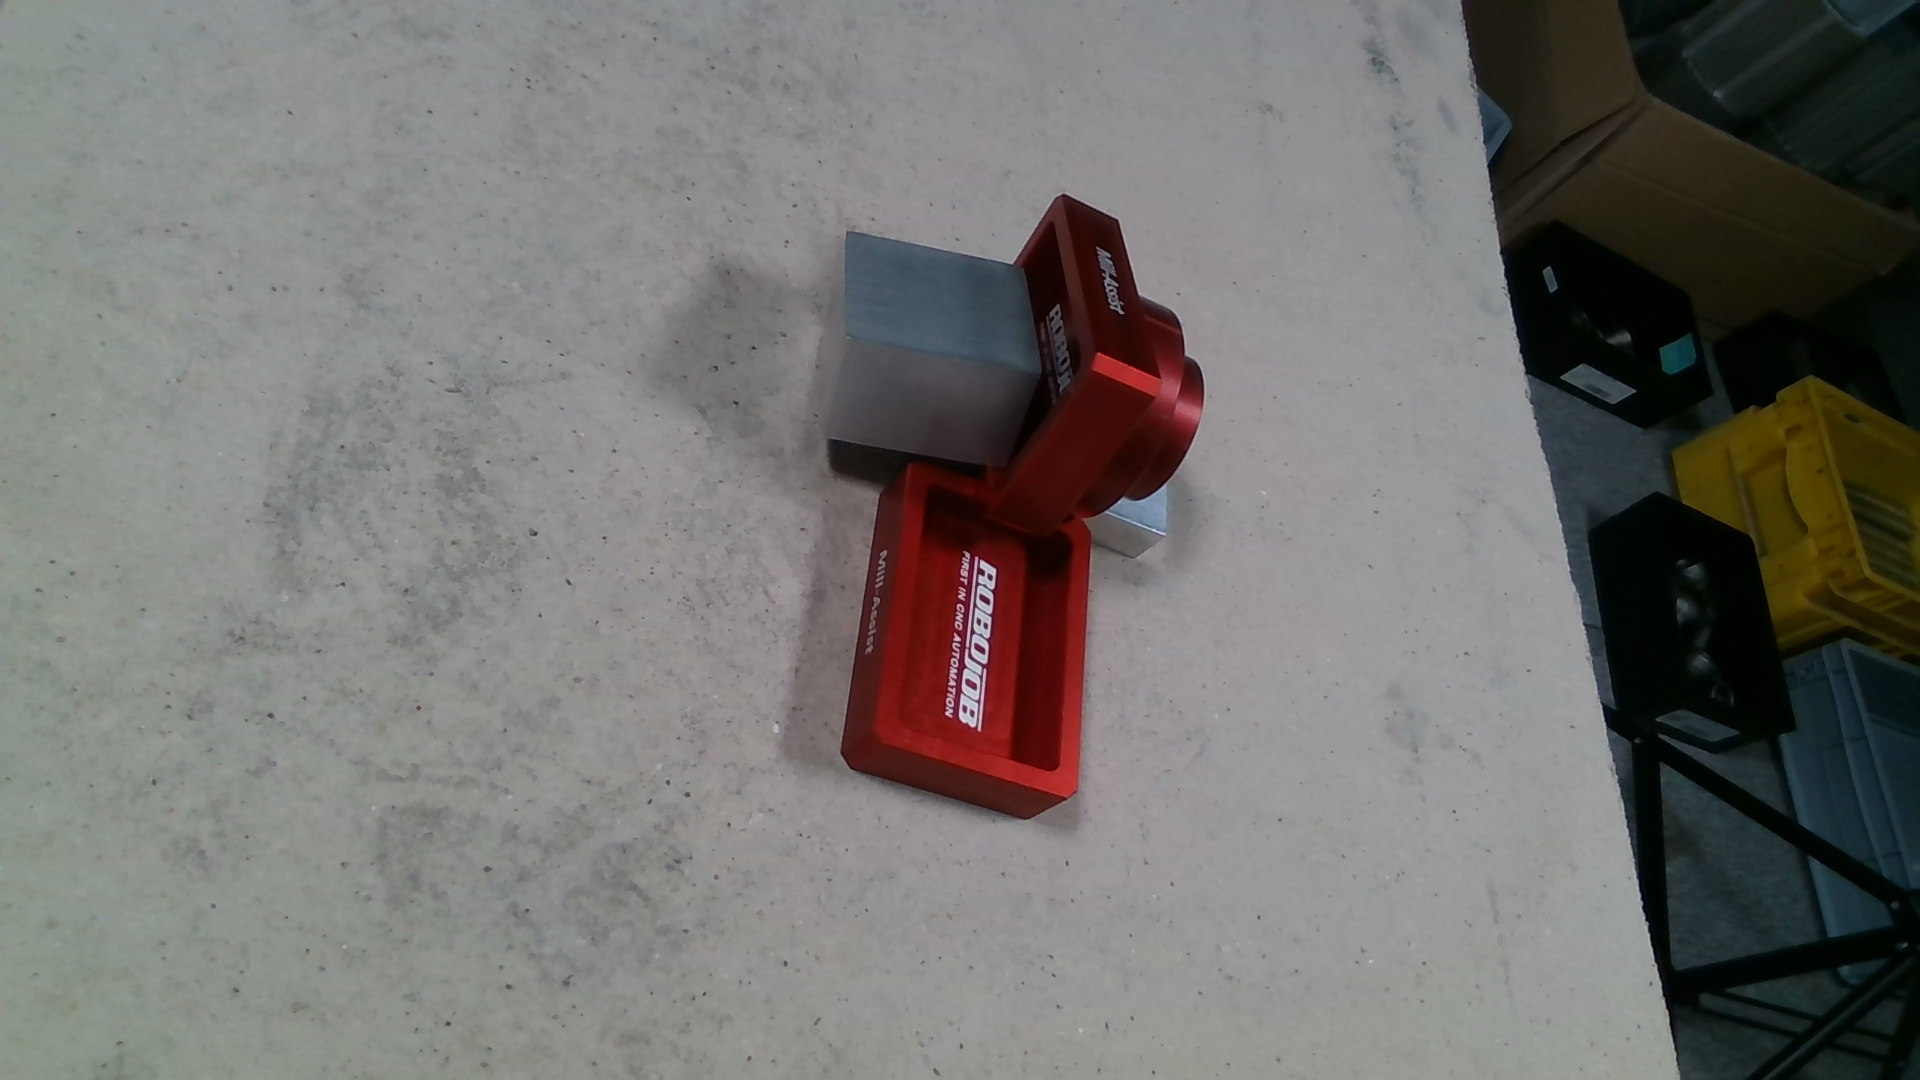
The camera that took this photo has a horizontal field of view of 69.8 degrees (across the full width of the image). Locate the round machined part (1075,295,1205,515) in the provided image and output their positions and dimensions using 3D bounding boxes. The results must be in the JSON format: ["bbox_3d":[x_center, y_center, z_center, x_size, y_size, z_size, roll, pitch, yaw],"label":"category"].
[{"bbox_3d":[0.069,-0.056,0.598,0.042,0.098,0.098,20,56,-22],"label":"round machined part"}]

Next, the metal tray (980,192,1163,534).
[{"bbox_3d":[0.040,-0.077,0.588,0.030,0.090,0.130,20,38,-21],"label":"metal tray"}]

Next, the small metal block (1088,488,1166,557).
[{"bbox_3d":[0.068,-0.026,0.643,0.050,0.025,0.050,20,56,-21],"label":"small metal block"}]

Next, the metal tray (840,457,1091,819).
[{"bbox_3d":[0.006,0.039,0.565,0.090,0.030,0.130,20,56,-21],"label":"metal tray"}]

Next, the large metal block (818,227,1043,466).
[{"bbox_3d":[-0.015,-0.081,0.580,0.080,0.050,0.080,9,42,-13],"label":"large metal block"}]
